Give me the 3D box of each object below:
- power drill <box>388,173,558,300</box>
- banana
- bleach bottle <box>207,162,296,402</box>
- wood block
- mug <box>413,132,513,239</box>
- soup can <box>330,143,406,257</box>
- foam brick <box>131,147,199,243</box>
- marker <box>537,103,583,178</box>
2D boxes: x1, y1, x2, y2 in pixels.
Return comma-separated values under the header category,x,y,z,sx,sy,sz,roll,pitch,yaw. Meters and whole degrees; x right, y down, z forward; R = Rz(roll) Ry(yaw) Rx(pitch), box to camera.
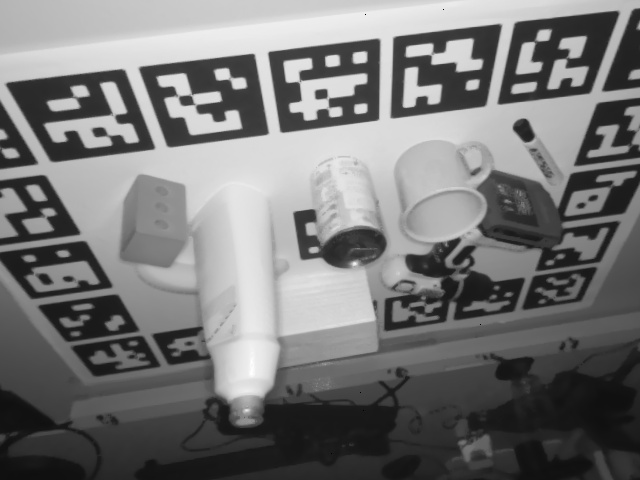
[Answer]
category,x,y,z,sx,sy,sz,roll,pitch,yaw
power drill,0.204,0.004,0.865,0.186,0.058,0.184,16,136,-23
banana,-0.111,0.031,0.836,0.199,0.039,0.073,5,125,-15
bleach bottle,-0.067,0.043,0.694,0.068,0.252,0.101,14,137,-26
wood block,-0.025,0.095,0.897,0.207,0.091,0.089,-7,140,-3
mug,0.154,-0.068,0.737,0.094,0.082,0.115,27,126,-34
soup can,0.048,-0.042,0.723,0.068,0.102,0.067,-5,145,-2
foam brick,-0.157,-0.045,0.708,0.053,0.078,0.050,16,137,-31
marker,0.265,-0.109,0.766,0.019,0.020,0.121,-28,137,18
